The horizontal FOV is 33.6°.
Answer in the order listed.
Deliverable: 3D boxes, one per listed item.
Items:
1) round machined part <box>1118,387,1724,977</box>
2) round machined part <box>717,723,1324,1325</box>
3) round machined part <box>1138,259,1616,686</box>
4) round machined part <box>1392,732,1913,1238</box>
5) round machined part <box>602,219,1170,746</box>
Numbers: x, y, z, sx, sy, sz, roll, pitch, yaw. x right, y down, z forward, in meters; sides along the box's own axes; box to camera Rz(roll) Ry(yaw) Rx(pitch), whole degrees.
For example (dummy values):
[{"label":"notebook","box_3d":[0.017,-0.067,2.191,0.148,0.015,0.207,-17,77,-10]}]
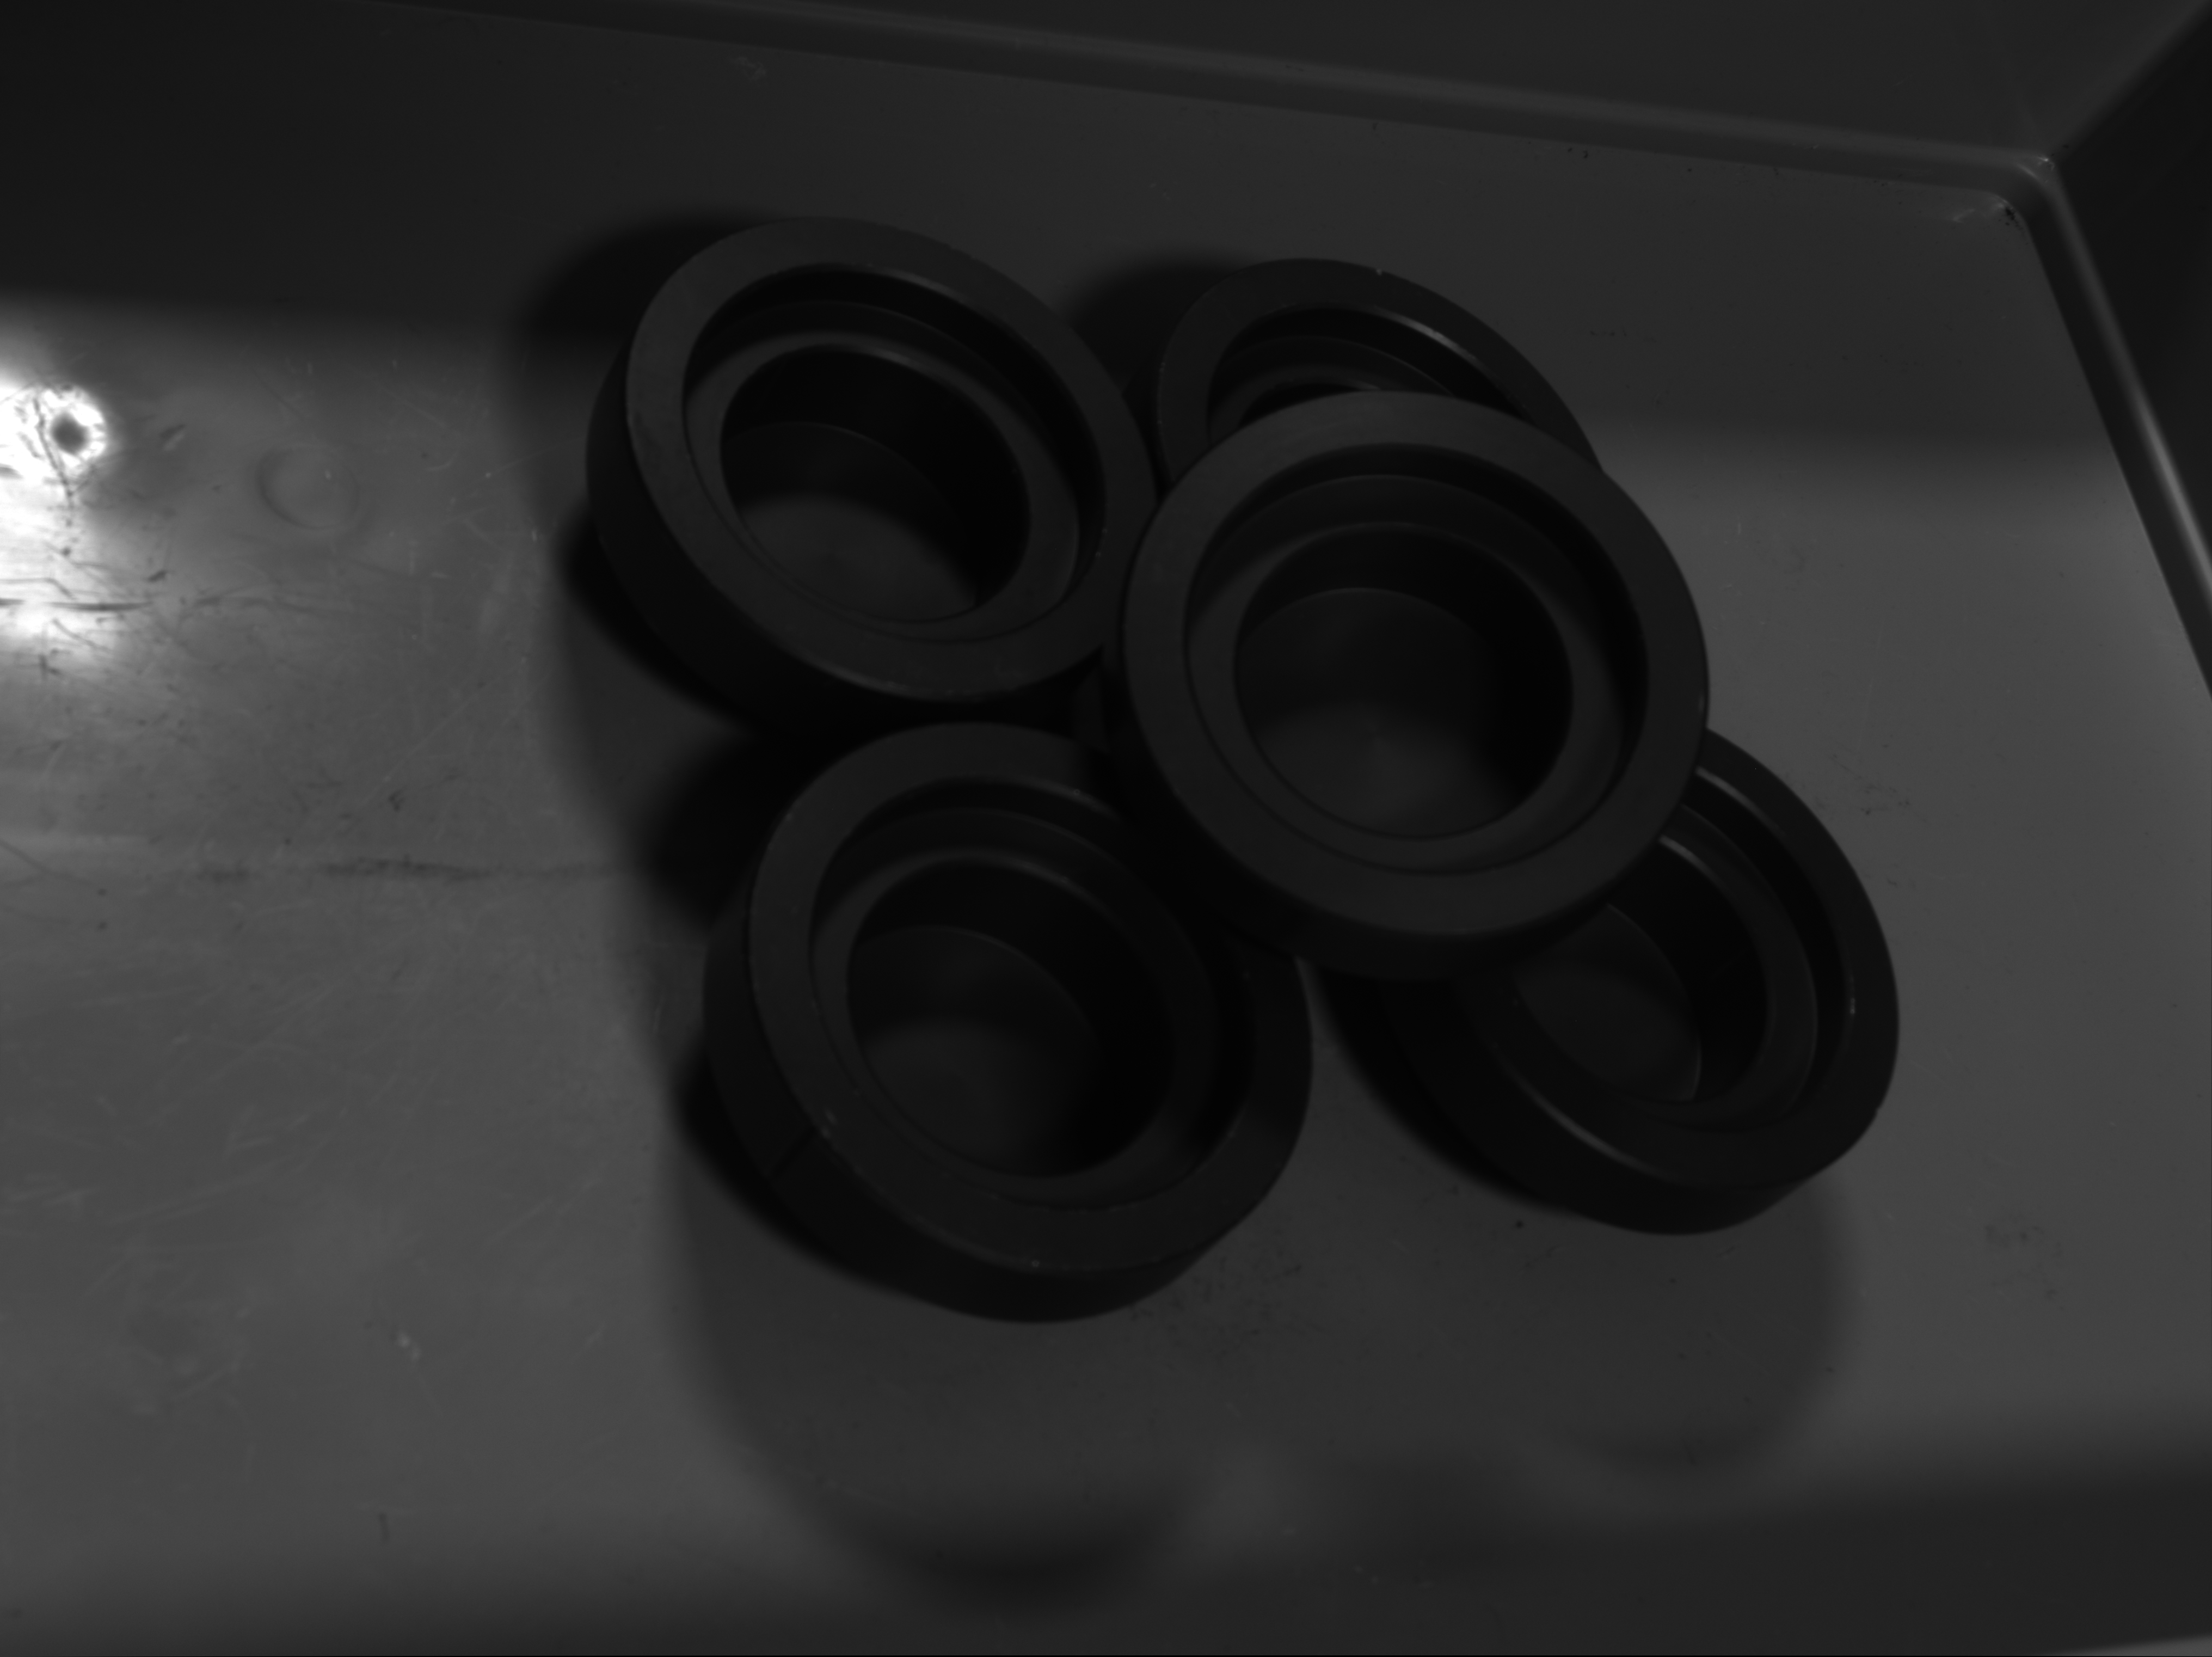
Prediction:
[{"label":"round machined part","box_3d":[0.050,-0.021,0.612,0.098,0.042,0.098,3,67,-7]},{"label":"round machined part","box_3d":[-0.017,0.035,0.597,0.098,0.042,0.098,14,56,-21]},{"label":"round machined part","box_3d":[0.047,-0.055,0.686,0.098,0.042,0.098,14,56,-21]},{"label":"round machined part","box_3d":[0.093,0.029,0.660,0.098,0.042,0.098,14,56,-21]},{"label":"round machined part","box_3d":[-0.041,-0.054,0.639,0.098,0.042,0.098,14,56,-21]}]
